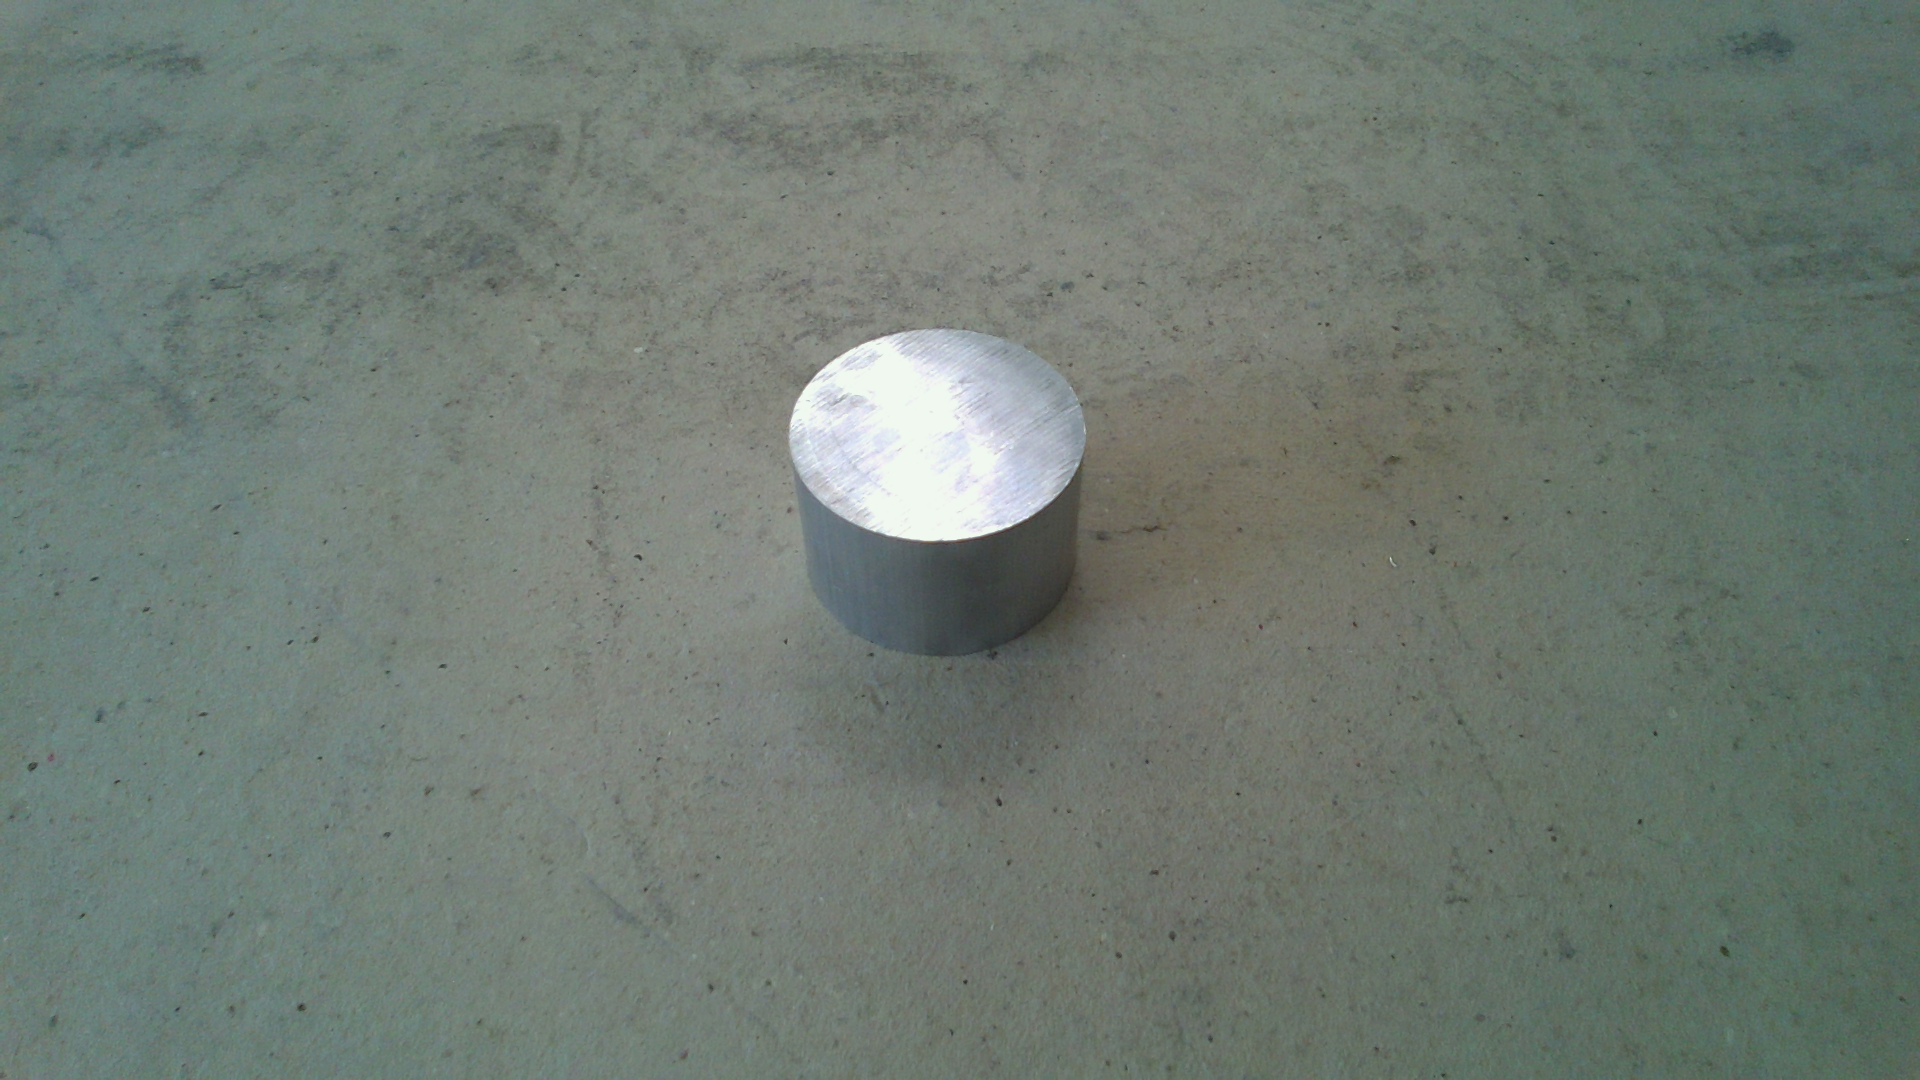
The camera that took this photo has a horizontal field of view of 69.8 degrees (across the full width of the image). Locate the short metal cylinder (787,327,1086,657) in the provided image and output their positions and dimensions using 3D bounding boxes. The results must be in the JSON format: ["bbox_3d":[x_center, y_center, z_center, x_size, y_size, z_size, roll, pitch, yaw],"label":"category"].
[{"bbox_3d":[-0.006,-0.014,0.387,0.080,0.050,0.080,1,50,-1],"label":"short metal cylinder"}]
